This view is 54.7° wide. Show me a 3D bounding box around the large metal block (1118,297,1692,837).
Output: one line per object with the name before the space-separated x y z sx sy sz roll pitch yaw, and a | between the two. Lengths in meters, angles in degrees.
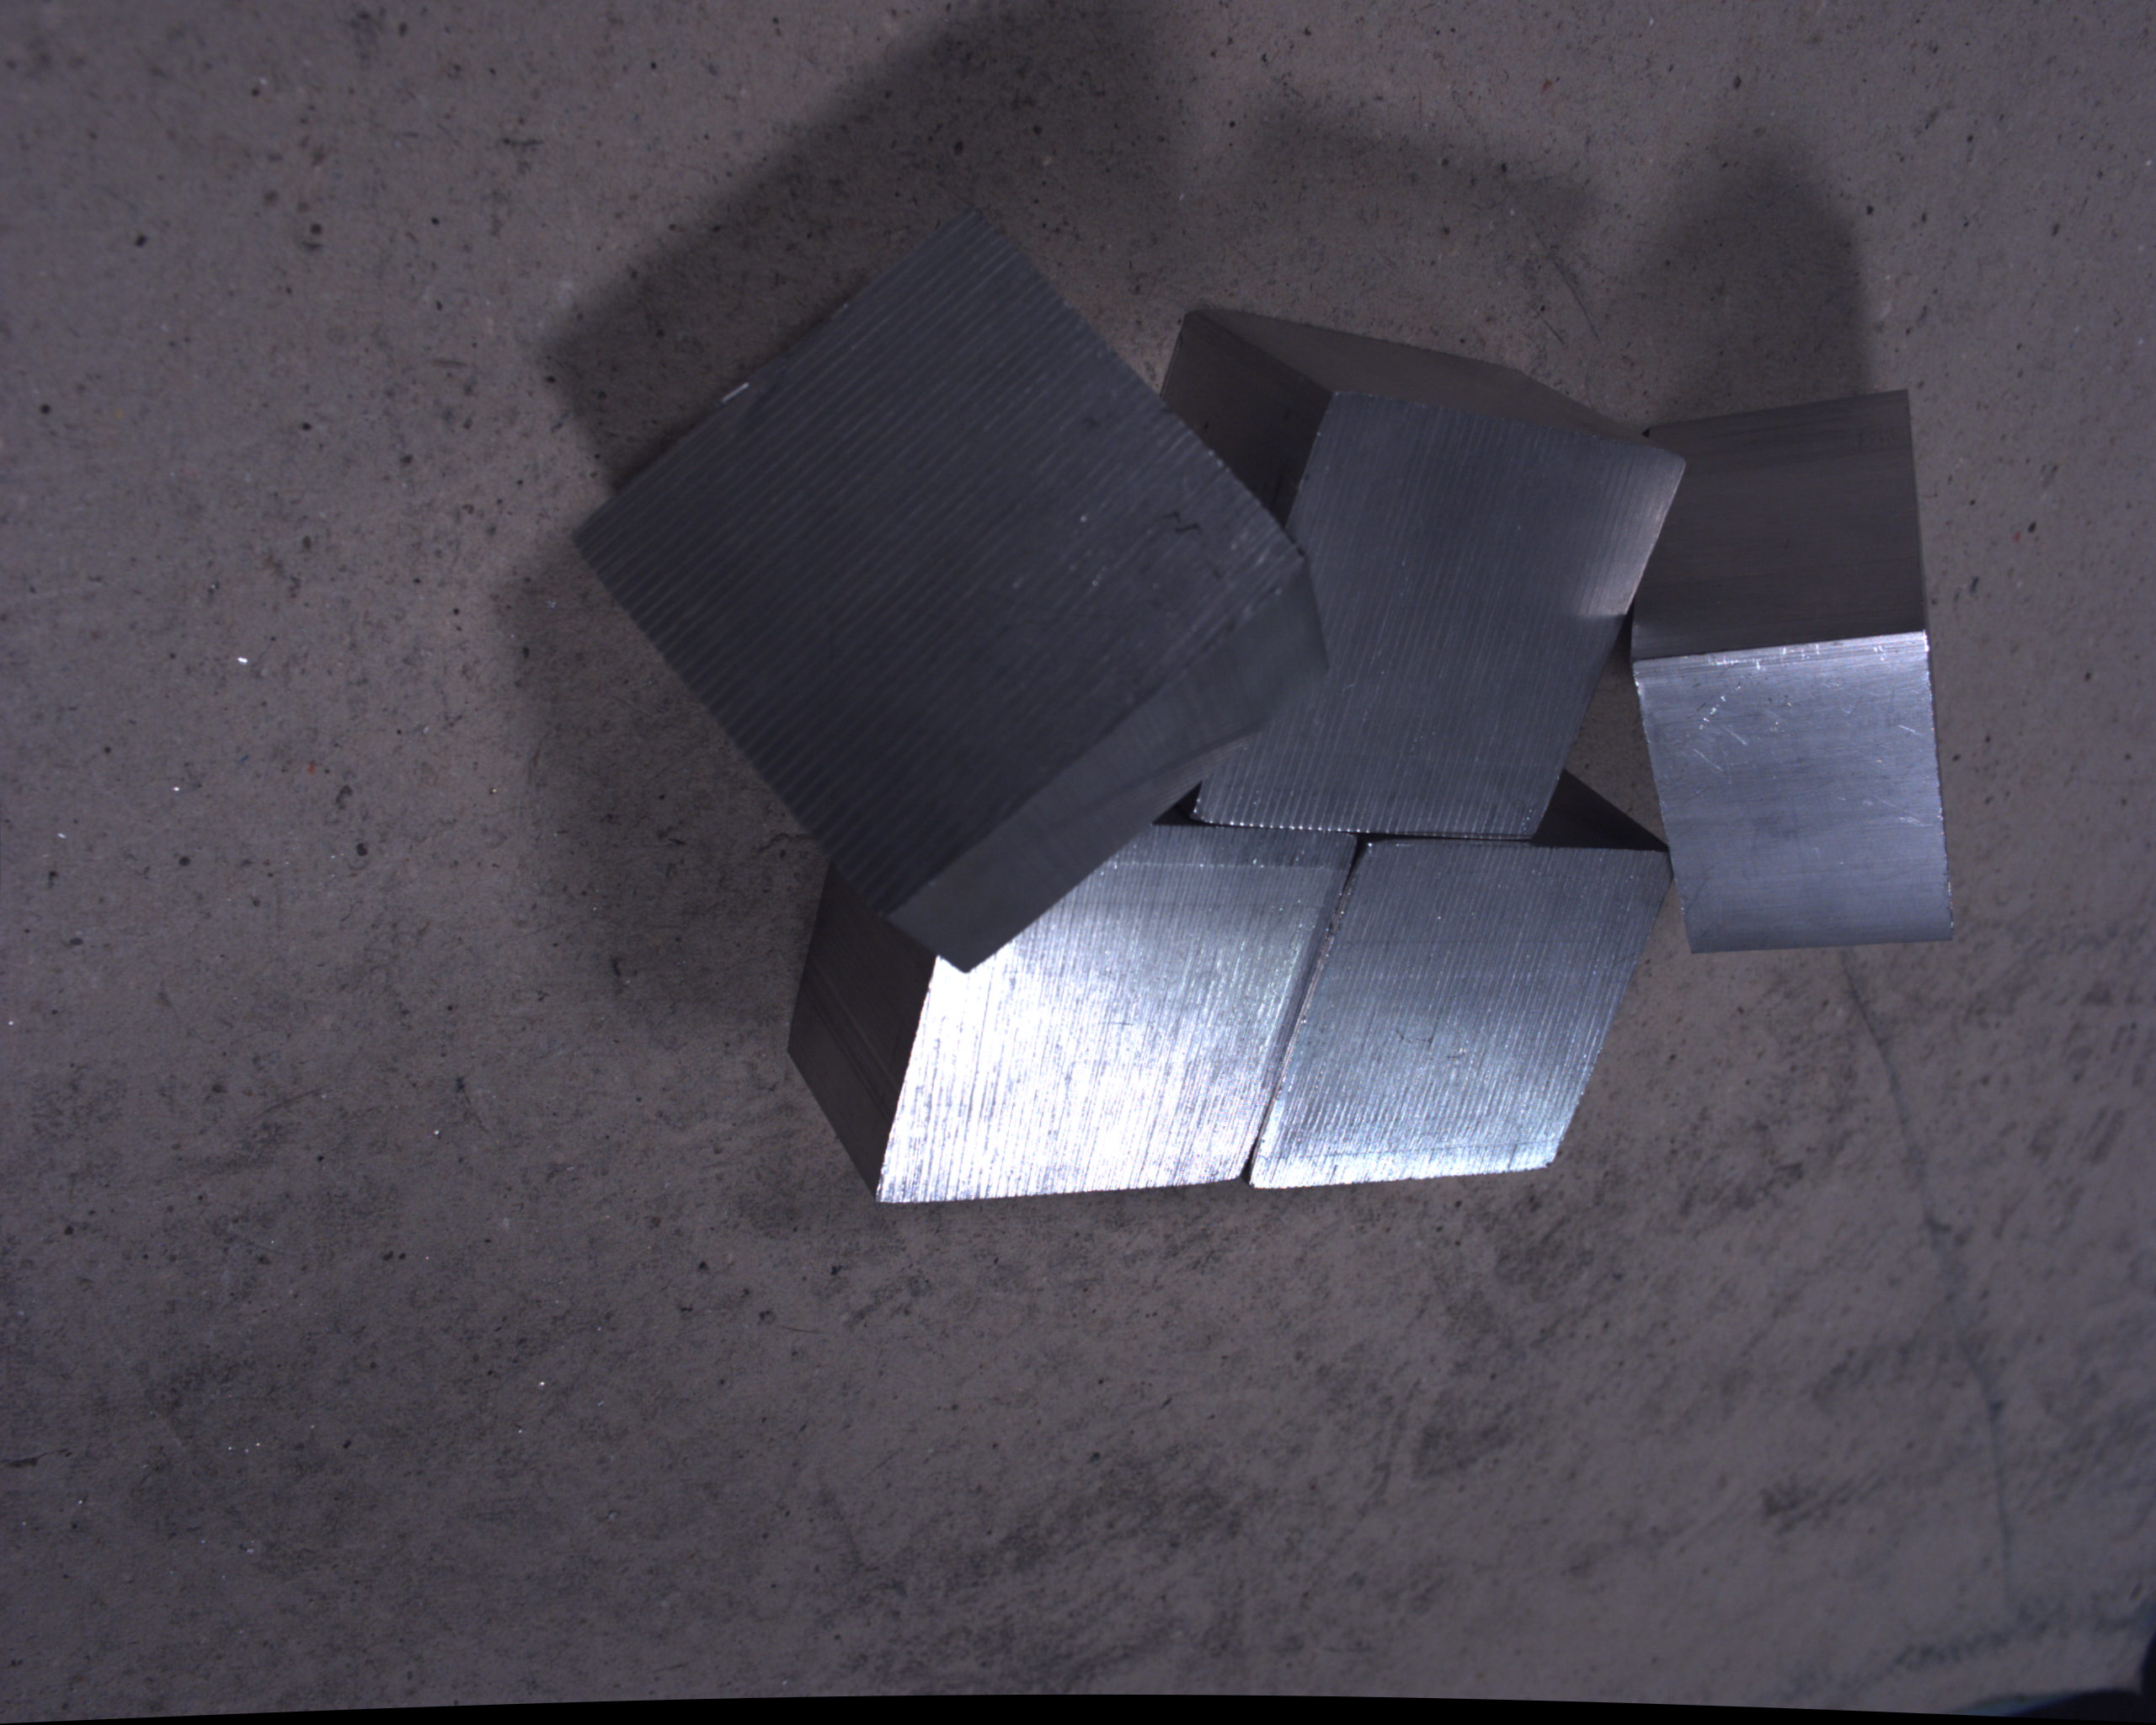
large metal block | 0.055 -0.053 0.391 0.081 0.050 0.079 3 117 -30

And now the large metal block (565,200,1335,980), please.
large metal block | -0.018 -0.041 0.330 0.080 0.080 0.050 -40 164 -1

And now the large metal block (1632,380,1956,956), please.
large metal block | 0.146 -0.039 0.423 0.050 0.080 0.080 -5 132 23

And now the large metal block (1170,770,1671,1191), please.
large metal block | 0.068 0.020 0.441 0.081 0.050 0.079 1 118 -30

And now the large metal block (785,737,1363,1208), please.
large metal block | -0.003 0.017 0.402 0.081 0.050 0.079 1 118 -30
